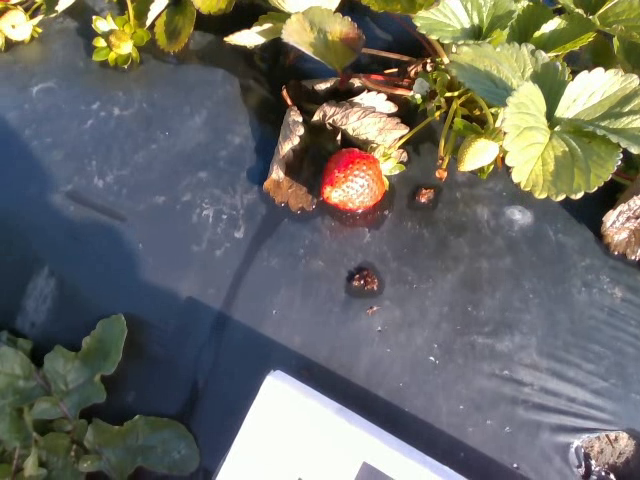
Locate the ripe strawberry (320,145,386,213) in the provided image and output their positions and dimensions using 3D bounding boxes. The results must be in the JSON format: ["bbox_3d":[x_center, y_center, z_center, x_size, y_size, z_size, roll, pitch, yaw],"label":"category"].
[{"bbox_3d":[0.011,-0.026,0.315,0.054,0.047,0.038,-36,-10,-36],"label":"ripe strawberry"}]
